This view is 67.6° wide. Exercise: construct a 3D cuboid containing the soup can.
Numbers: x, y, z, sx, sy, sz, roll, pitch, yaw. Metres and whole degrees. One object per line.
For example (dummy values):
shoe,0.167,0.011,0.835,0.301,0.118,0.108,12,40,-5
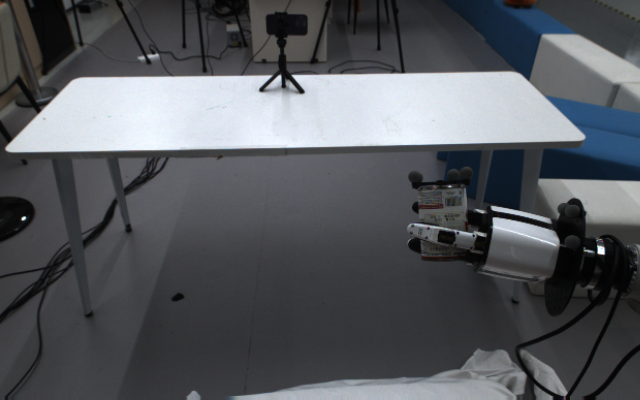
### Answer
soup can,0.174,0.031,0.675,0.067,0.101,0.067,-3,-1,0
